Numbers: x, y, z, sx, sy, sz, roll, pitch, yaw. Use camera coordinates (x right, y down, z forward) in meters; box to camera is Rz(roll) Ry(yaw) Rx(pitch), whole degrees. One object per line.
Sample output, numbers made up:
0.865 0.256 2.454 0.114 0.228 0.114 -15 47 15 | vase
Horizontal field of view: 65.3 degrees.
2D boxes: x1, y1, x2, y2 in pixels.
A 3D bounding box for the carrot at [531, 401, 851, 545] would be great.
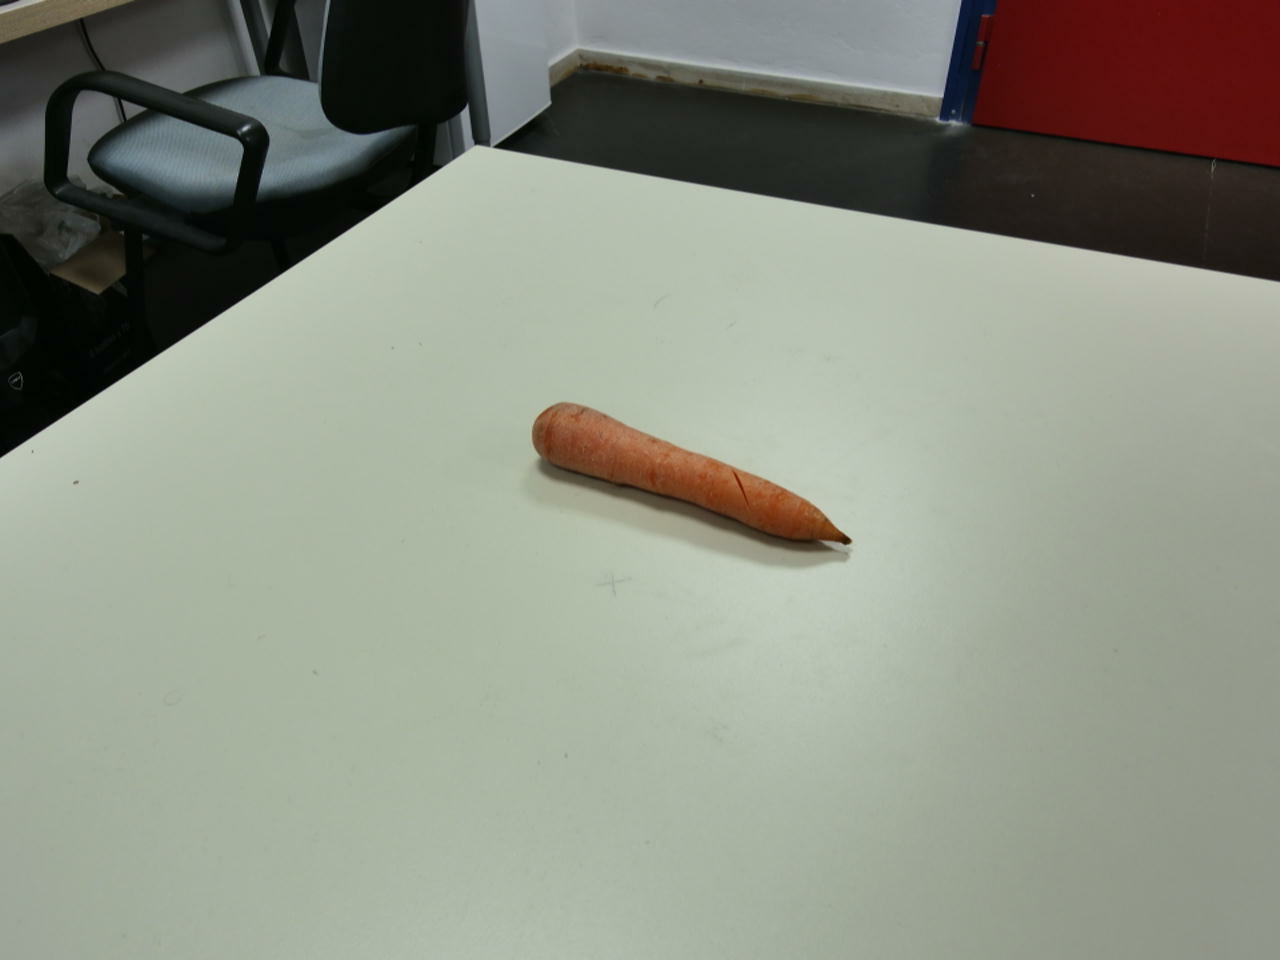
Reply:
0.027 -0.005 0.564 0.196 0.041 0.039 17 41 20 | carrot
